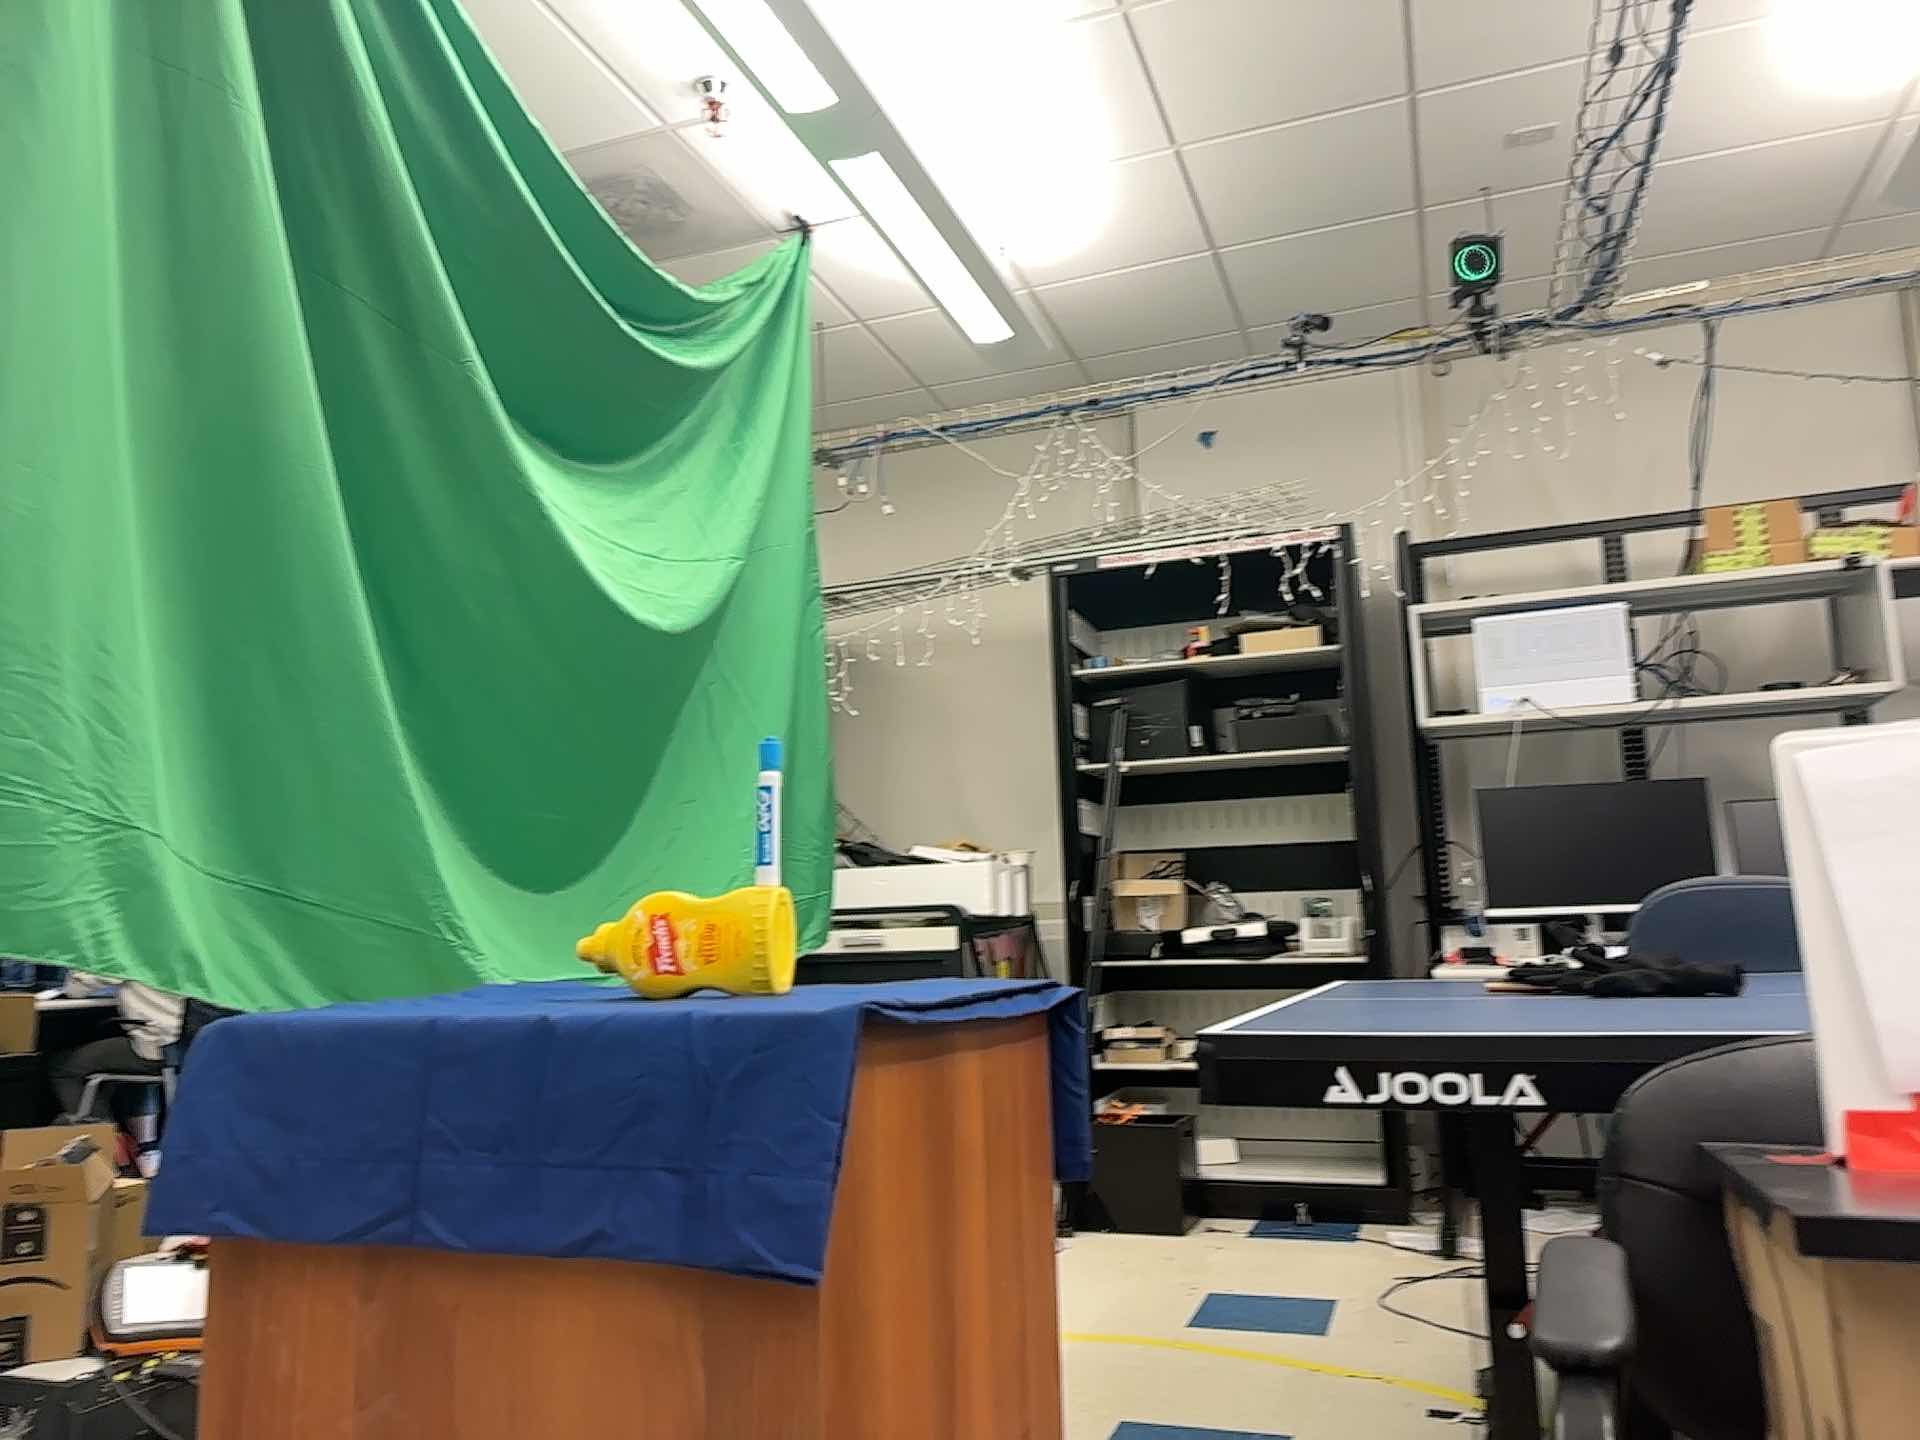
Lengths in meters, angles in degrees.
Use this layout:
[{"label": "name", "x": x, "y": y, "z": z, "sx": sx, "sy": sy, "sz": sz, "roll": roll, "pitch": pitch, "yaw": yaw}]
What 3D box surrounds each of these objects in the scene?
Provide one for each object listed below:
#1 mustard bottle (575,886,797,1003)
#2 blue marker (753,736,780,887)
[{"label": "mustard bottle", "x": -0.226, "y": 0.182, "z": 1.089, "sx": 0.184, "sy": 0.092, "sz": 0.054, "roll": -4, "pitch": -2, "yaw": 14}, {"label": "blue marker", "x": -0.156, "y": 0.073, "z": 1.086, "sx": 0.020, "sy": 0.121, "sz": 0.020, "roll": -1, "pitch": -11, "yaw": 0}]
